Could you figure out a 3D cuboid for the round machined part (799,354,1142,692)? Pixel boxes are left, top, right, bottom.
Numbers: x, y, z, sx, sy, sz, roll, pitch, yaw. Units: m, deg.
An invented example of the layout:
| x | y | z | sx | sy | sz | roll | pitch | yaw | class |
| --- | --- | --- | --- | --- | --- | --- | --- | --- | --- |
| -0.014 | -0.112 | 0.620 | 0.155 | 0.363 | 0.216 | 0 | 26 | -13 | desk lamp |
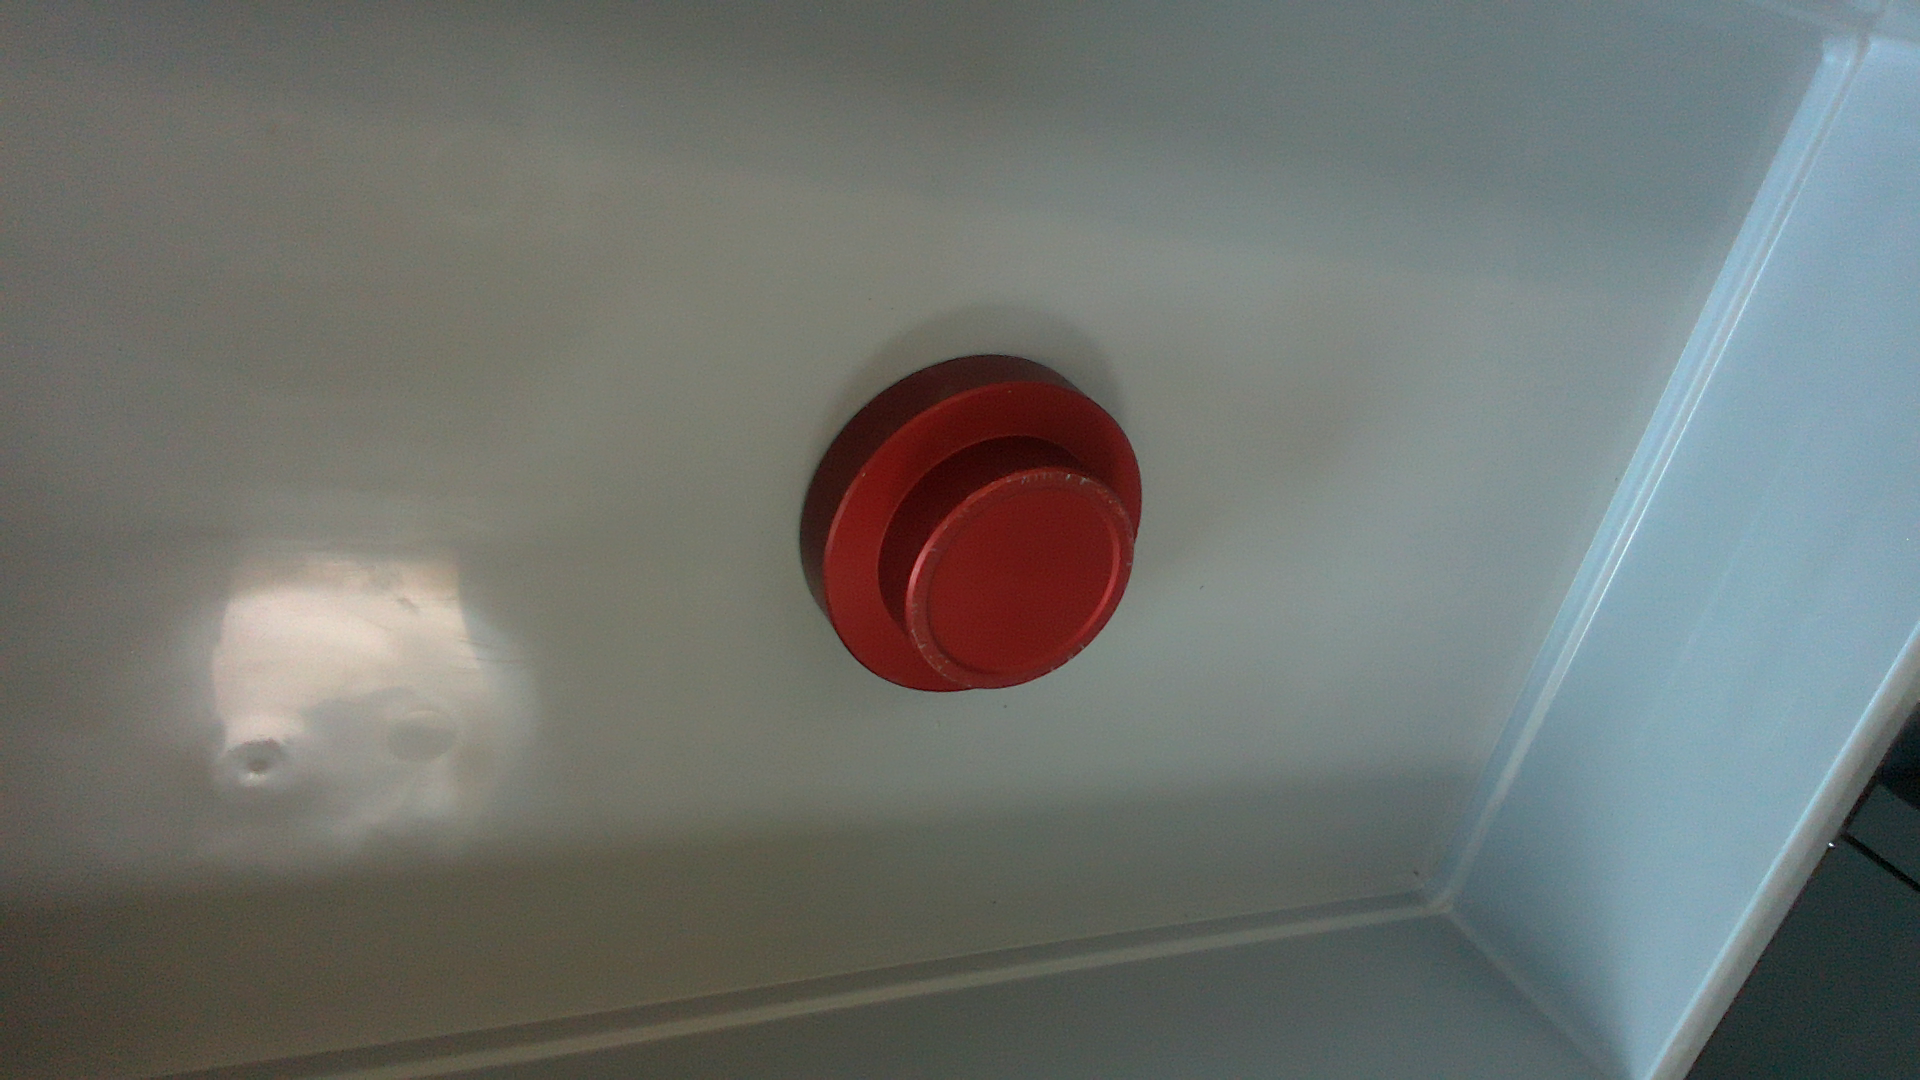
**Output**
| x | y | z | sx | sy | sz | roll | pitch | yaw | class |
| --- | --- | --- | --- | --- | --- | --- | --- | --- | --- |
| 0.009 | 0.002 | 0.380 | 0.098 | 0.042 | 0.098 | -14 | 124 | -21 | round machined part |
